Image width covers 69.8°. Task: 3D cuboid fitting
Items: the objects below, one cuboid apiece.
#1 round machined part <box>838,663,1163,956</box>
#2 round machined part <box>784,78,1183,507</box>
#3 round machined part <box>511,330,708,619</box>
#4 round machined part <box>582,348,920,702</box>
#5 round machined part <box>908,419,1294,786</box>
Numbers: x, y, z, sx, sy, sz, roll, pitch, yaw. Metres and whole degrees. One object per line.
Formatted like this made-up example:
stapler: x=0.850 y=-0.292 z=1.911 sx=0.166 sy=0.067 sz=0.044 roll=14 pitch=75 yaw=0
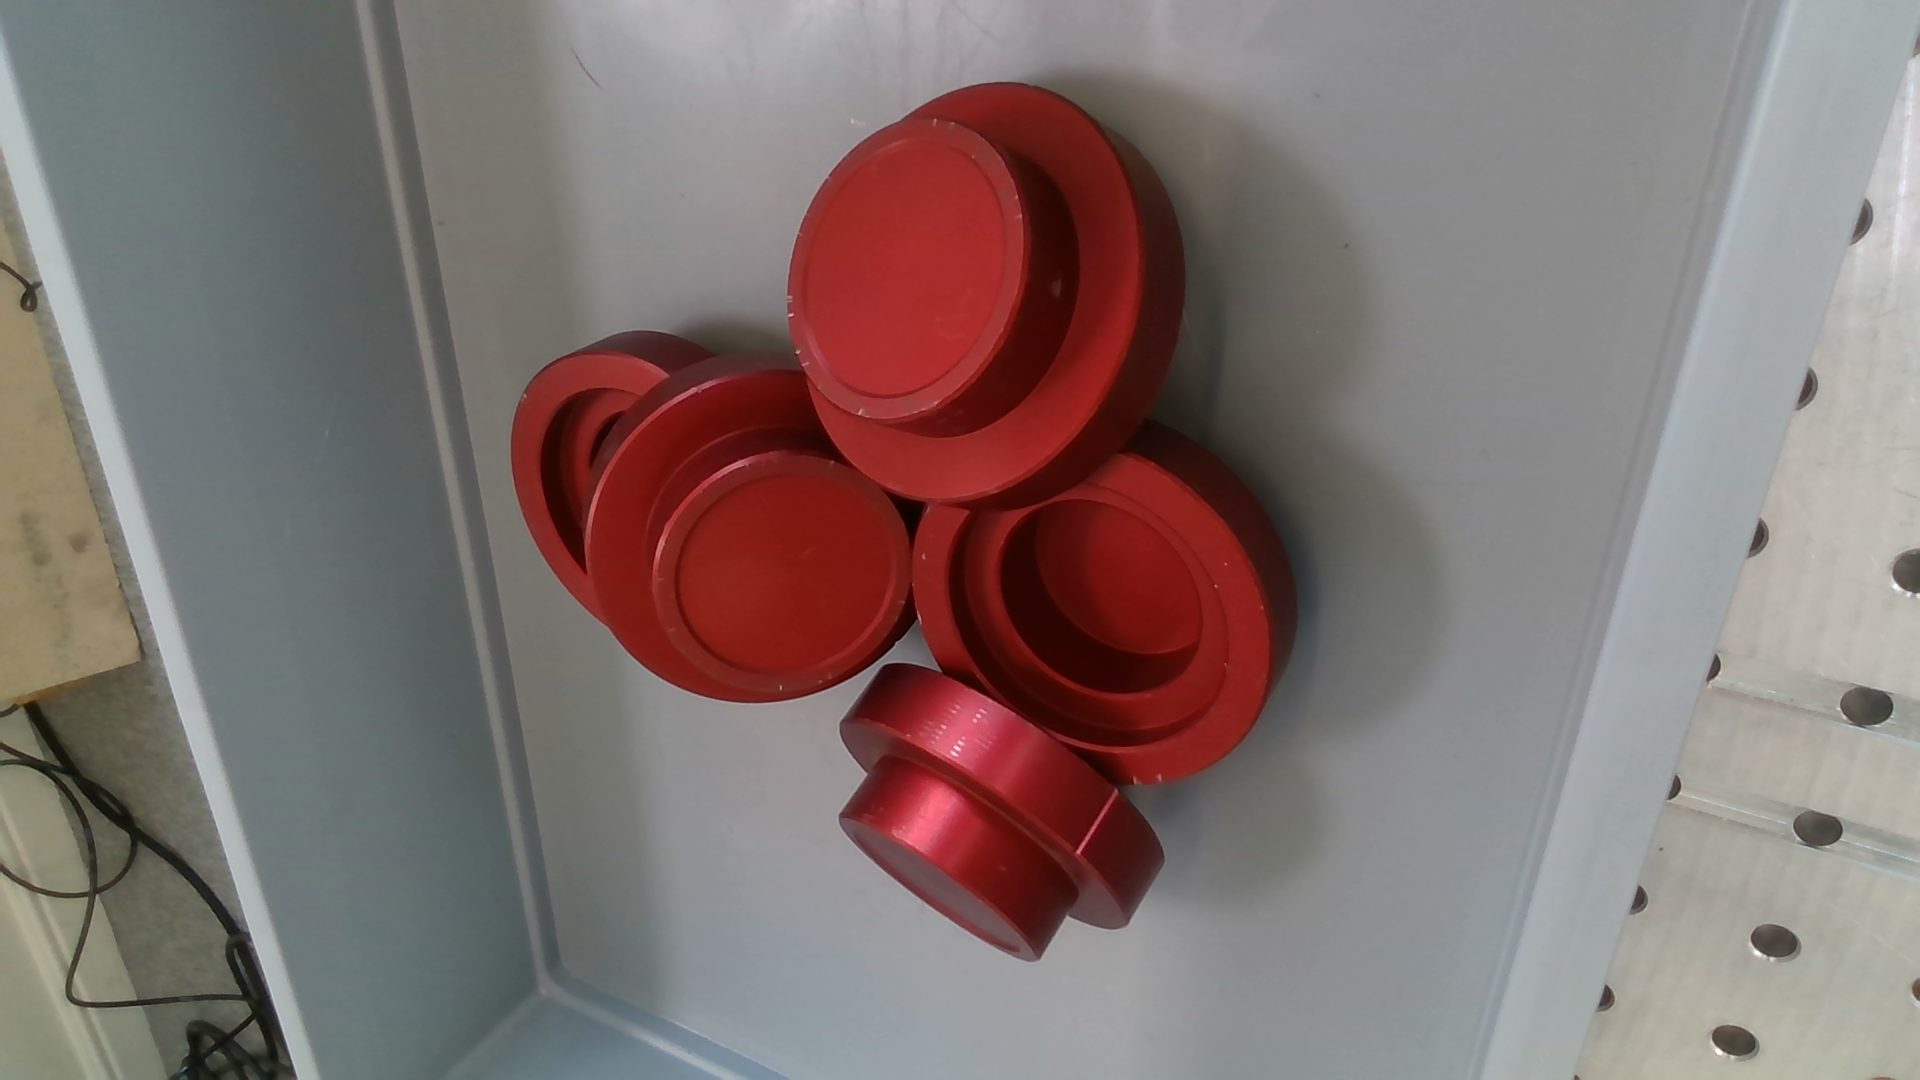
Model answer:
round machined part: x=0.005 y=0.081 z=0.389 sx=0.098 sy=0.042 sz=0.098 roll=32 pitch=159 yaw=13
round machined part: x=-0.002 y=-0.058 z=0.318 sx=0.098 sy=0.042 sz=0.098 roll=-4 pitch=83 yaw=36
round machined part: x=-0.085 y=-0.017 z=0.419 sx=0.098 sy=0.042 sz=0.098 roll=15 pitch=122 yaw=25
round machined part: x=-0.051 y=0.001 z=0.371 sx=0.042 sy=0.098 sz=0.098 roll=-127 pitch=28 yaw=-61
round machined part: x=0.039 y=0.011 z=0.357 sx=0.098 sy=0.042 sz=0.098 roll=15 pitch=122 yaw=25
